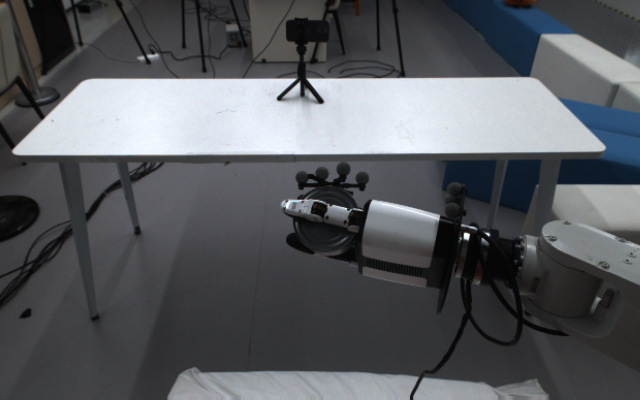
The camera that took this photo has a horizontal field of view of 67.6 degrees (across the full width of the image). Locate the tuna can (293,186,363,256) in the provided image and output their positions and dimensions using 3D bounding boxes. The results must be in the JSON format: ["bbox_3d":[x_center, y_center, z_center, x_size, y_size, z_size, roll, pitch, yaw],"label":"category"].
[{"bbox_3d":[0.013,0.032,0.612,0.085,0.034,0.085,-3,73,10],"label":"tuna can"}]
